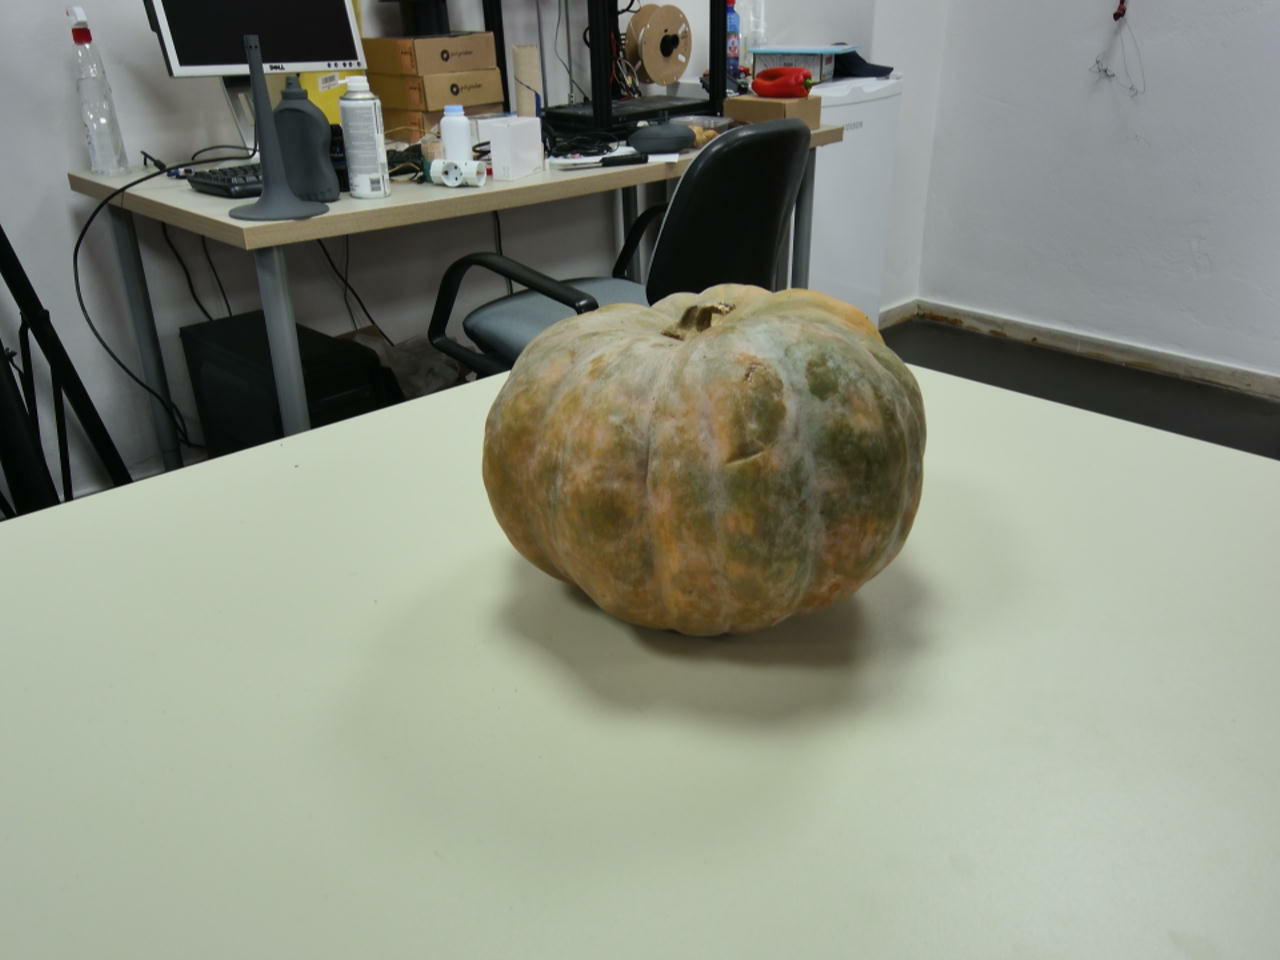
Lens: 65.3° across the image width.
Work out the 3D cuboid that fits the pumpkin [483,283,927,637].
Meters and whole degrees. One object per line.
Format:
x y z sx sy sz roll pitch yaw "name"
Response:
0.036 -0.021 0.558 0.252 0.169 0.251 0 24 0 "pumpkin"
